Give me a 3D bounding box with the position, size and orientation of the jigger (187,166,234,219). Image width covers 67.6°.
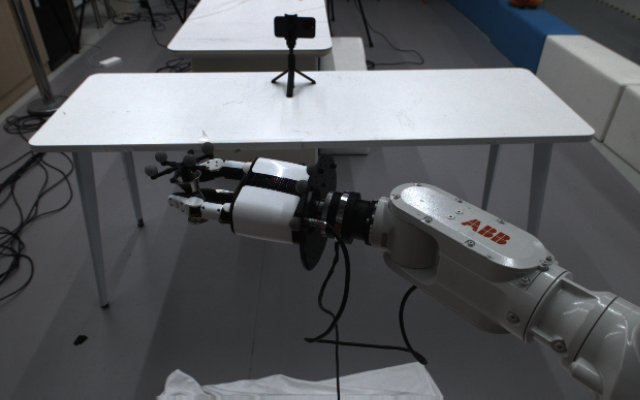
[{"bbox_3d":[-0.178,-0.005,0.696,0.043,0.071,0.043,-10,33,6],"label":"jigger"}]
